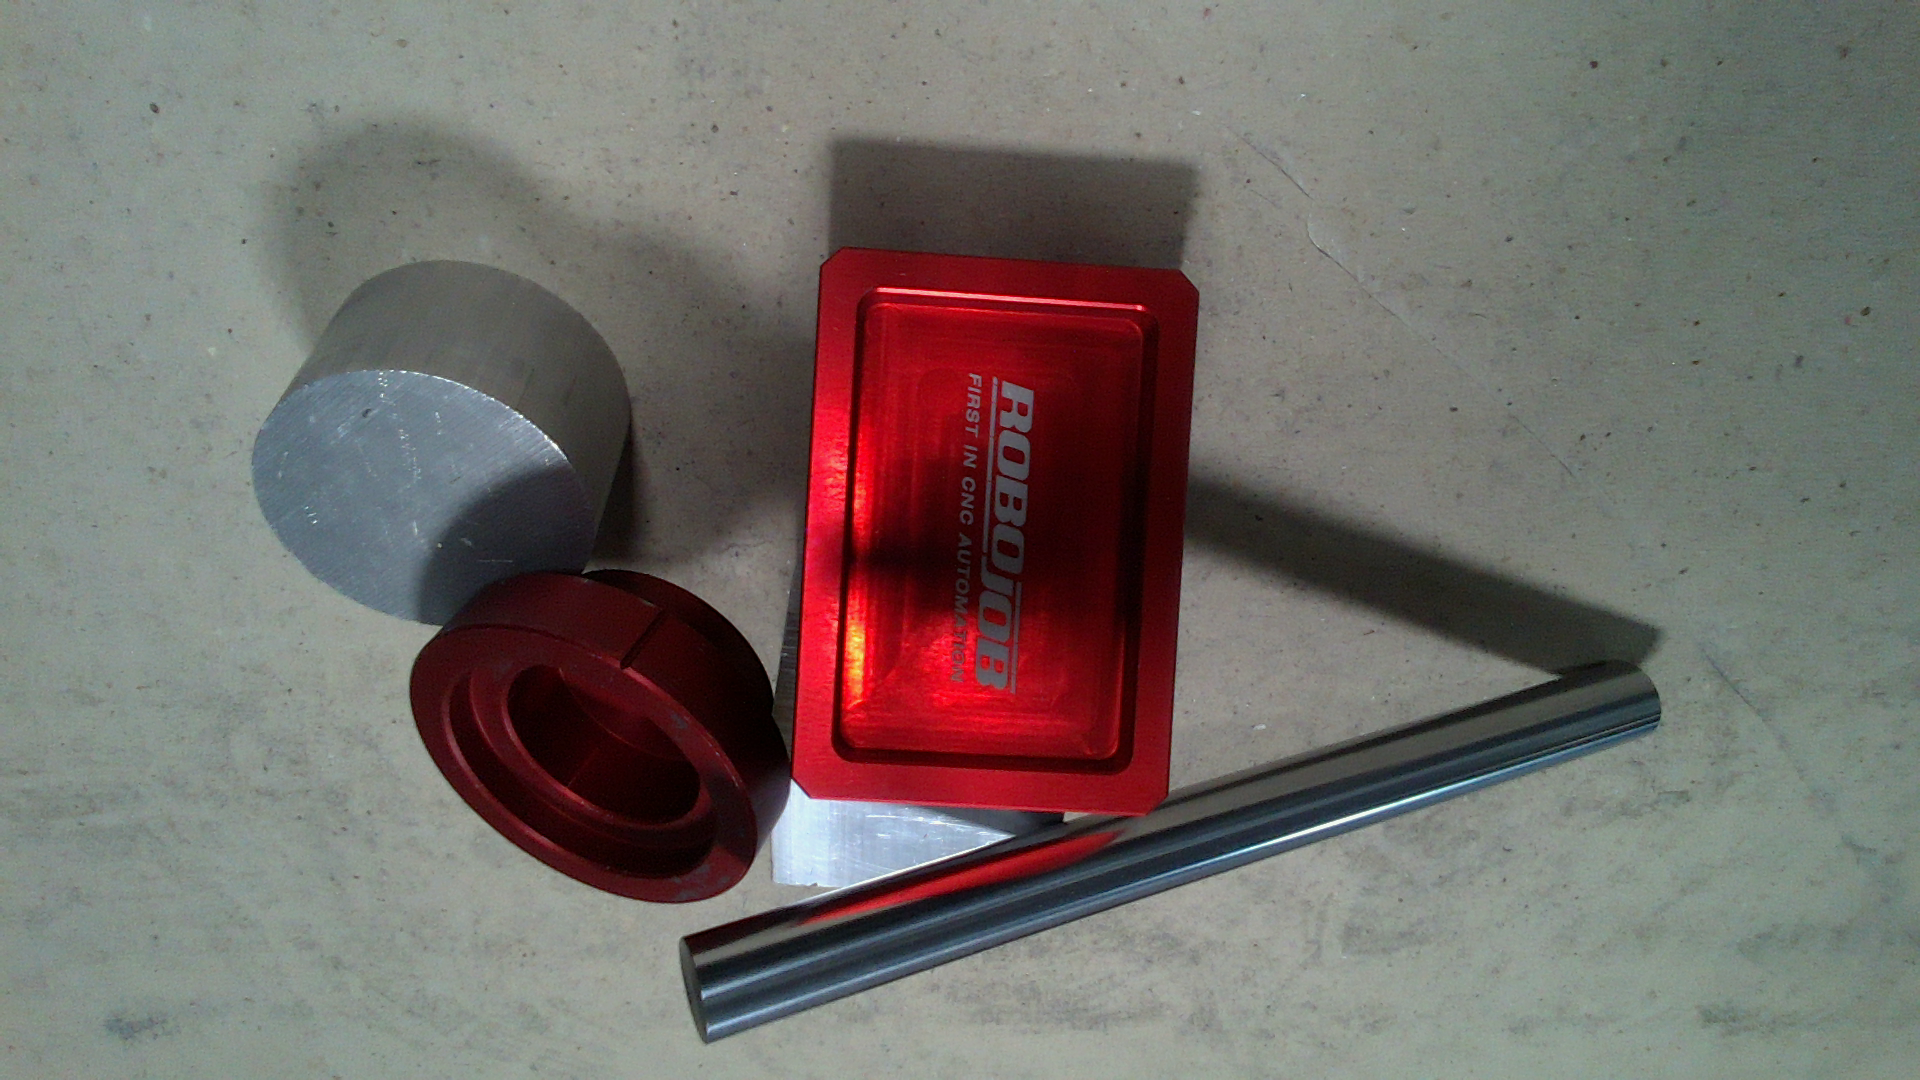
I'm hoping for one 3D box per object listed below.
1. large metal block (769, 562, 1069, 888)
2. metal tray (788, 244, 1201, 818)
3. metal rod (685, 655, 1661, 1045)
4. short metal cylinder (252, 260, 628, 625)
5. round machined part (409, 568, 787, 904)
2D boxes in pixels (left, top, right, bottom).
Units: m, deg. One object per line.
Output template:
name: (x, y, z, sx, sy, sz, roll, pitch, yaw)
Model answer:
large metal block: (-0.011, 0.054, 0.400, 0.080, 0.080, 0.050, 3, 130, -3)
metal tray: (0.008, -0.002, 0.336, 0.090, 0.030, 0.130, 3, 90, -3)
metal rod: (0.075, 0.077, 0.379, 0.301, 0.025, 0.025, -12, 134, -22)
short metal cylinder: (-0.130, -0.024, 0.354, 0.080, 0.050, 0.080, 0, 130, 0)
round machined part: (-0.089, 0.047, 0.361, 0.098, 0.042, 0.098, 13, 131, 16)
